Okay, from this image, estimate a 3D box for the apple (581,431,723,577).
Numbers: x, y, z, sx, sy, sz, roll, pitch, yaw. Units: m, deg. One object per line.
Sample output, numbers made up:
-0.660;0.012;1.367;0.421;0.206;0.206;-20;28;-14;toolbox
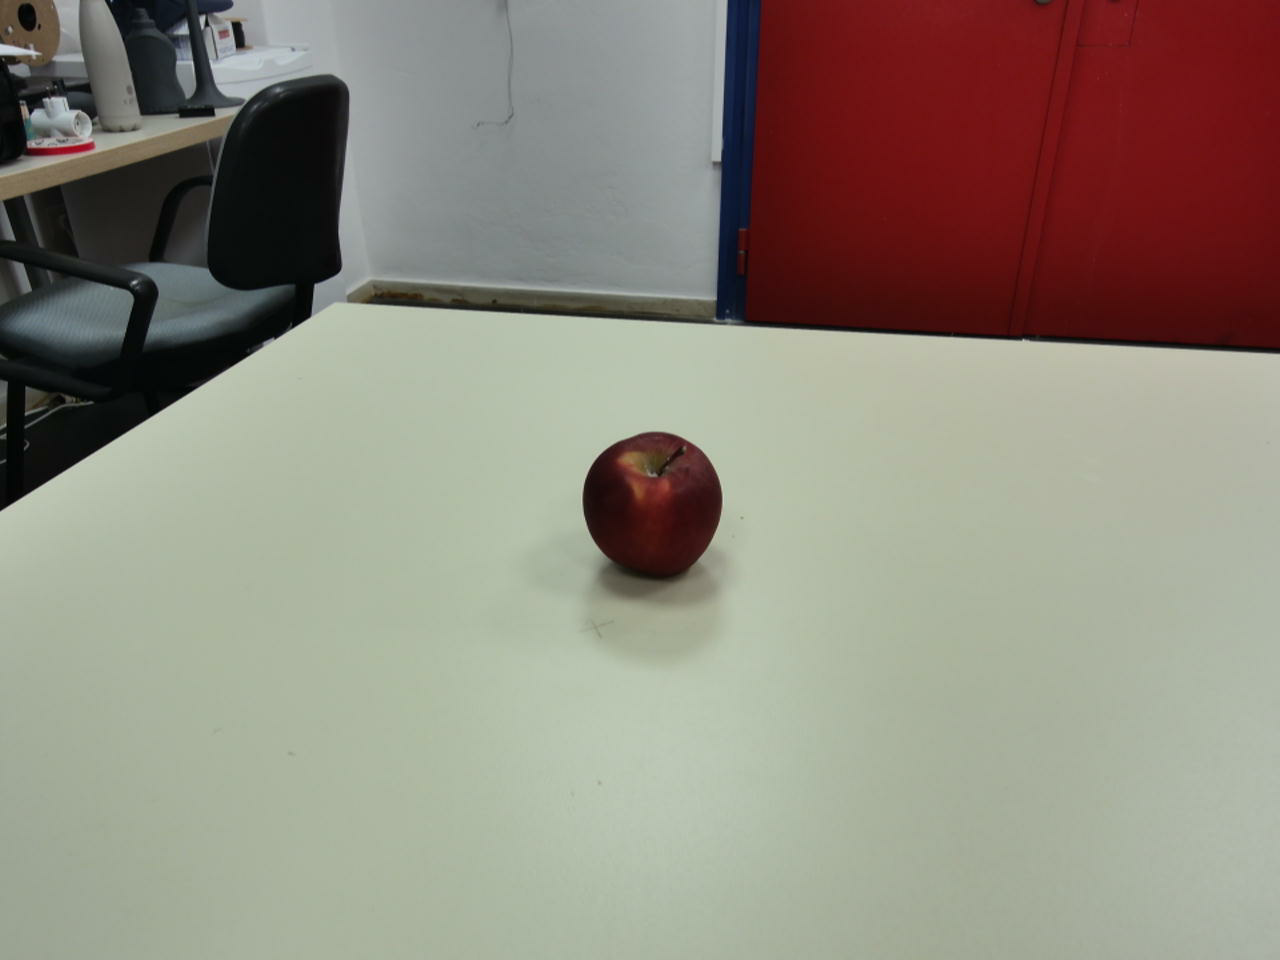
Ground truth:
0.007;0.012;0.494;0.070;0.072;0.070;1;25;0;apple
